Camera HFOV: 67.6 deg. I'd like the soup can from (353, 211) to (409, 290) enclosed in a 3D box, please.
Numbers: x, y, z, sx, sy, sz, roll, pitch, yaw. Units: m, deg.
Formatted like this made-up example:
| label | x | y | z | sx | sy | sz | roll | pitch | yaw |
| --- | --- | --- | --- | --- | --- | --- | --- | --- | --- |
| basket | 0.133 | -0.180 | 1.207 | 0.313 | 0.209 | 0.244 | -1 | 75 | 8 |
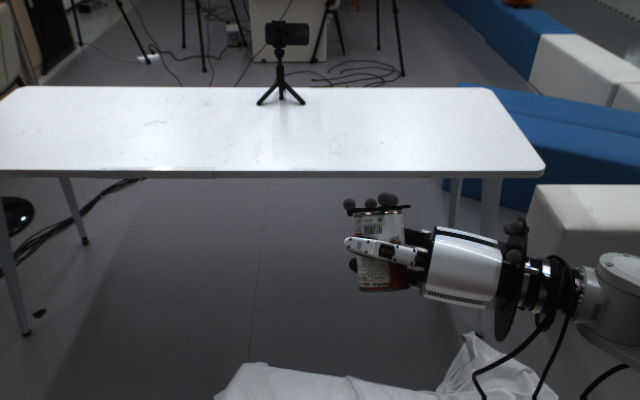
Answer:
| label | x | y | z | sx | sy | sz | roll | pitch | yaw |
| --- | --- | --- | --- | --- | --- | --- | --- | --- | --- |
| soup can | 0.083 | 0.068 | 0.644 | 0.067 | 0.101 | 0.067 | -5 | -5 | 0 |
